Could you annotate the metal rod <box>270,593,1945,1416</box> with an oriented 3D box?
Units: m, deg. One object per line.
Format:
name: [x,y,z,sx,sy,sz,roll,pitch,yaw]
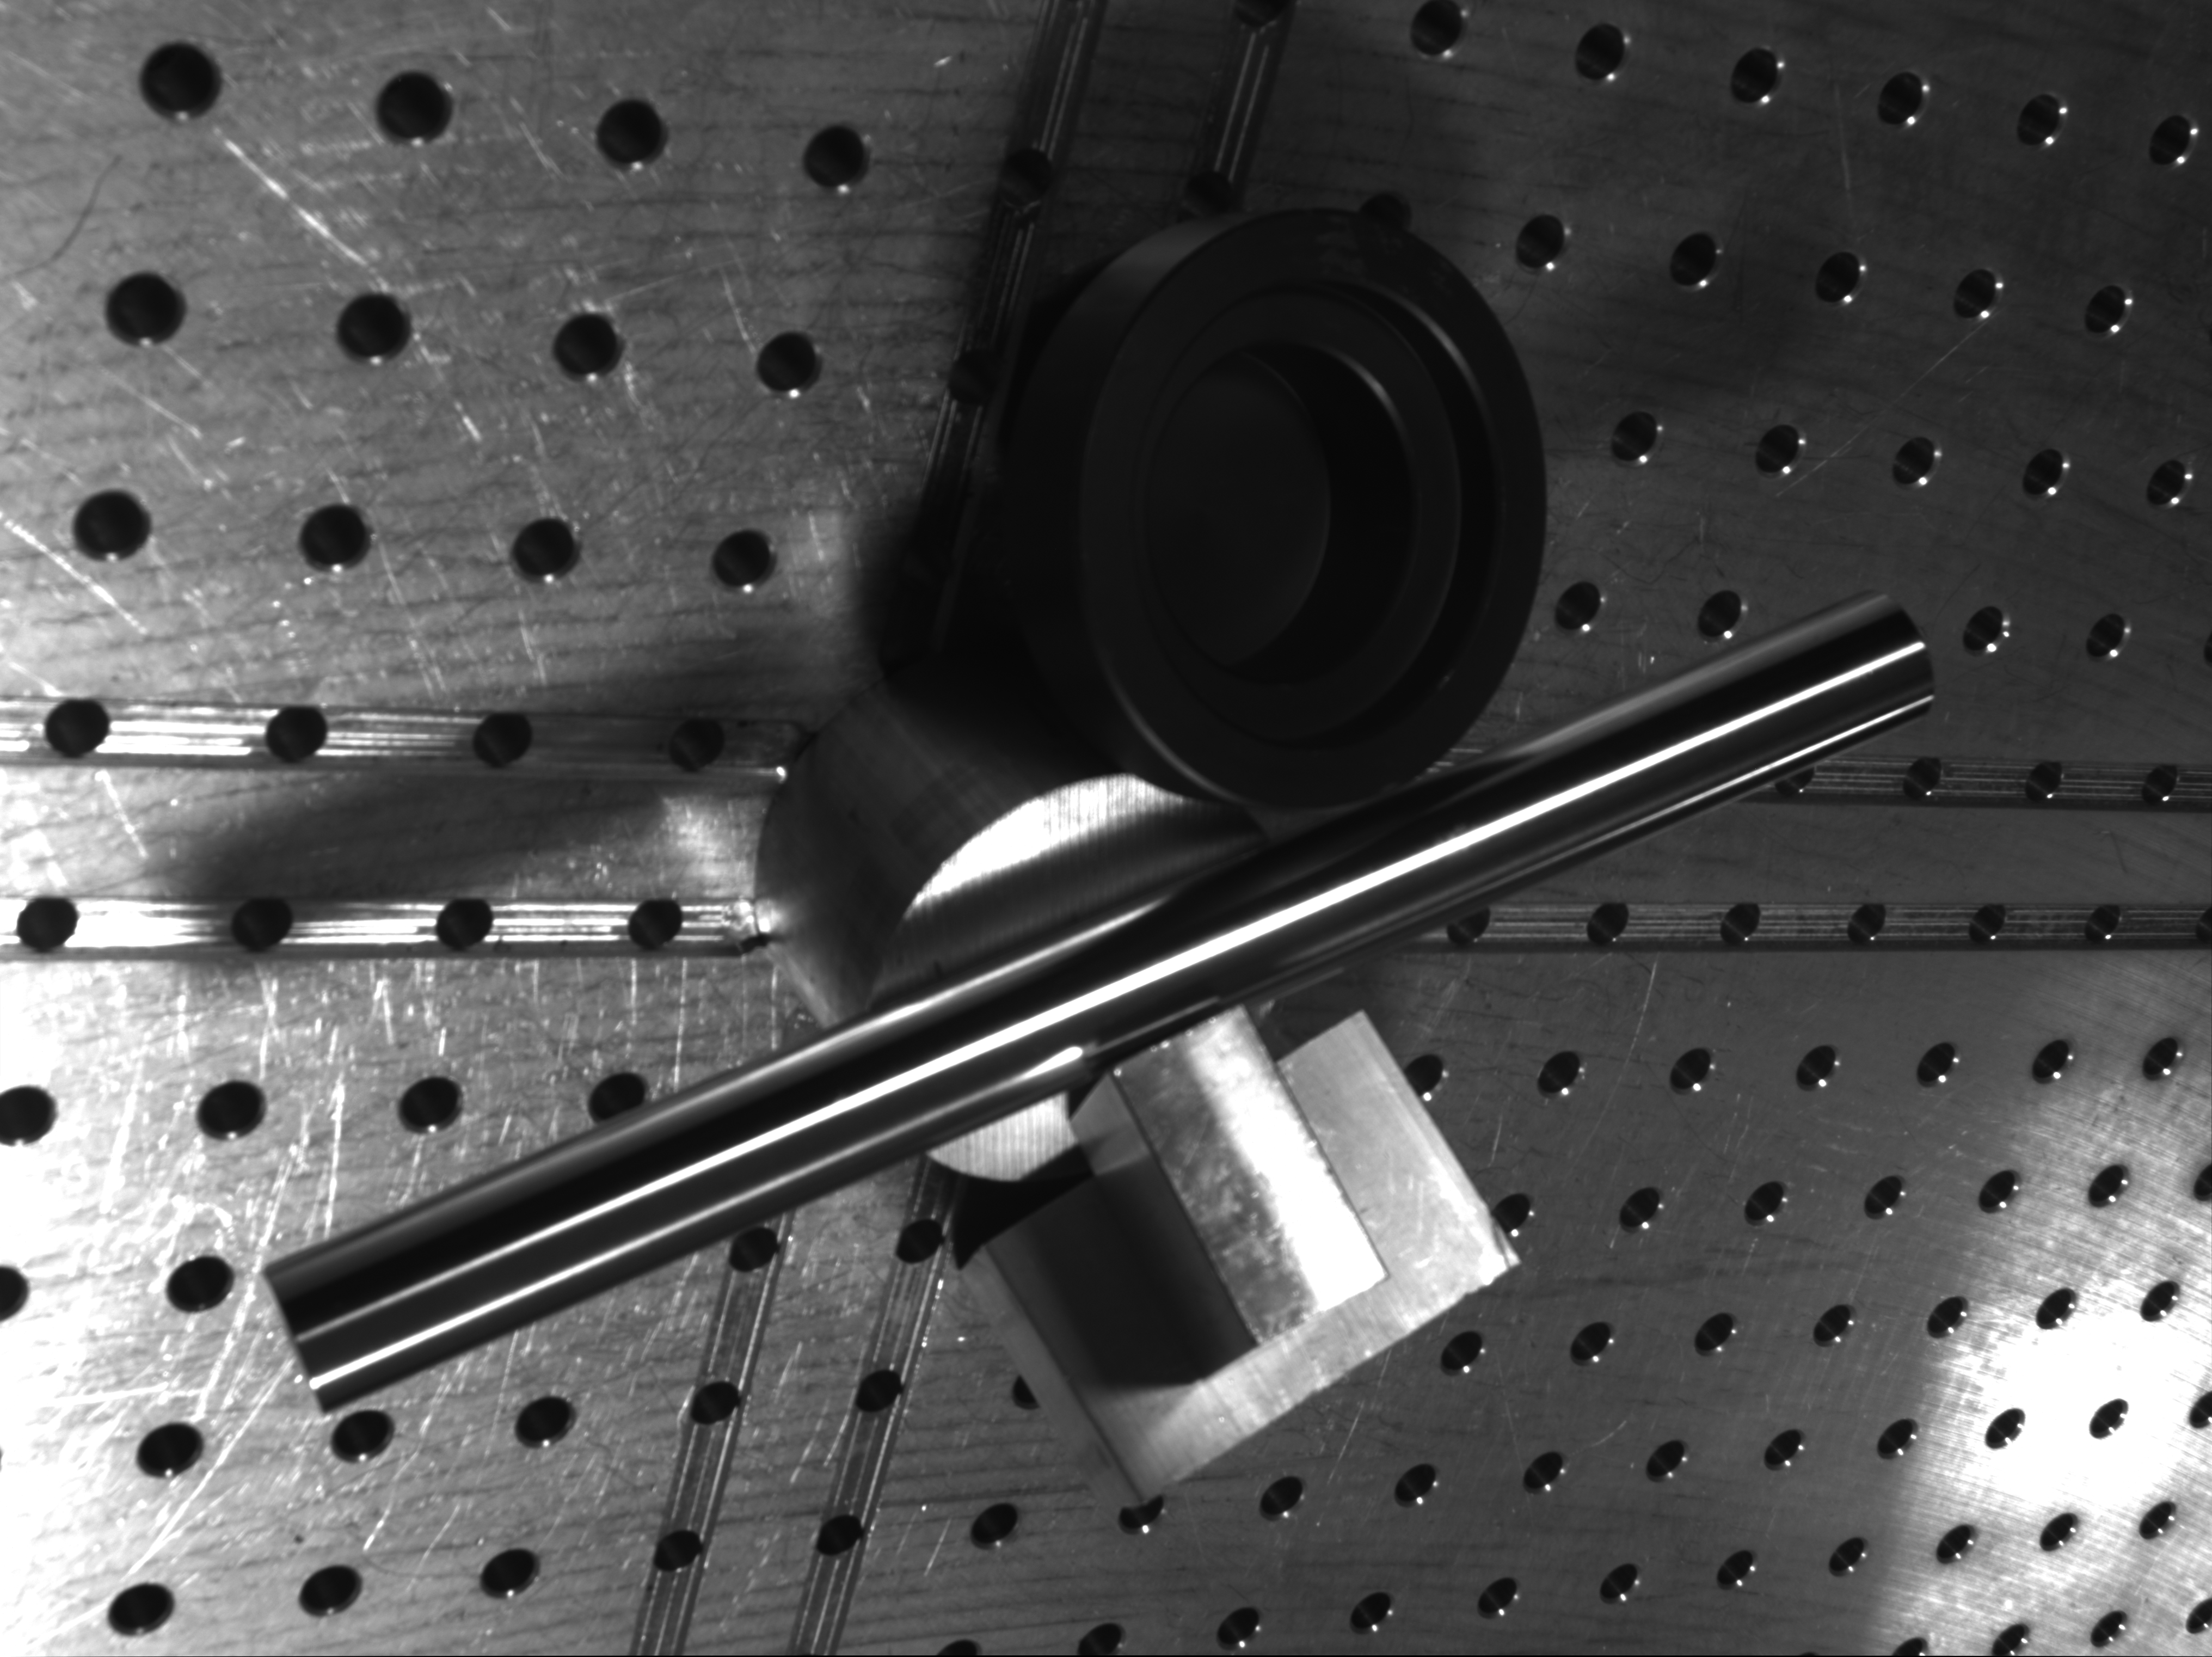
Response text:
metal rod: [0.009,0.024,0.608,0.300,0.025,0.025,-22,127,-17]

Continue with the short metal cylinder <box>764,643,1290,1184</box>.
short metal cylinder: [-0.013,0.015,0.638,0.080,0.050,0.080,-15,125,-22]

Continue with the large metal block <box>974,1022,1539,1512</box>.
large metal block: [0.025,0.083,0.673,0.080,0.050,0.080,-31,174,-10]

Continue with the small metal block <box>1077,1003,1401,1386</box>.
small metal block: [0.021,0.062,0.608,0.025,0.050,0.050,-26,170,-14]

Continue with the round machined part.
round machined part: [0.025,-0.053,0.610,0.098,0.042,0.098,-5,99,-35]
